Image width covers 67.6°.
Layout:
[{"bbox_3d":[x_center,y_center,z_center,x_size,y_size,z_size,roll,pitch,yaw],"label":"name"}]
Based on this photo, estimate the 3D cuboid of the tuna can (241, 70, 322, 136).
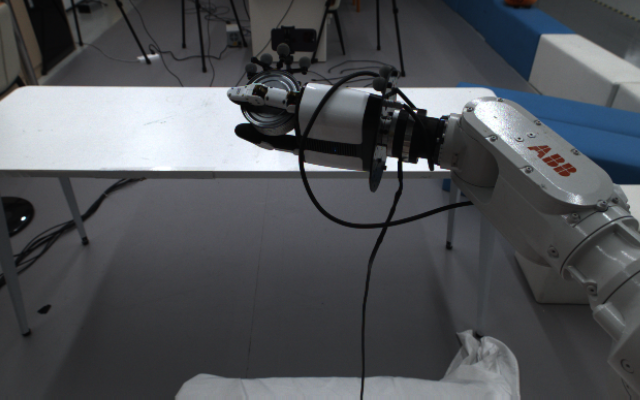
[{"bbox_3d":[-0.063,-0.132,0.658,0.085,0.034,0.085,-5,70,14],"label":"tuna can"}]
